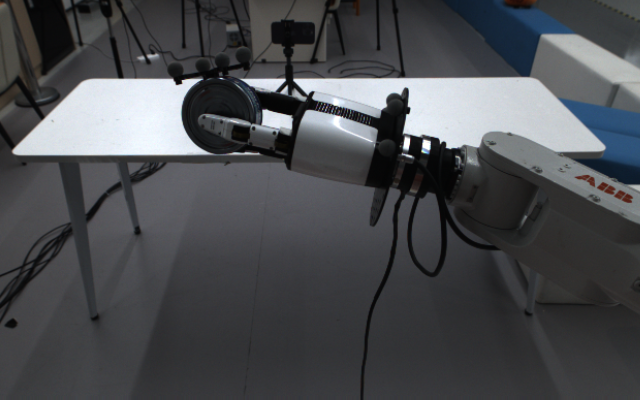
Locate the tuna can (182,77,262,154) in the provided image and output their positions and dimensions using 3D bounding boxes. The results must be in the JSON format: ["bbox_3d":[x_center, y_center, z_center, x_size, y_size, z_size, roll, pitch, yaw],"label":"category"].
[{"bbox_3d":[-0.106,-0.089,0.542,0.085,0.085,0.034,6,18,5],"label":"tuna can"}]
